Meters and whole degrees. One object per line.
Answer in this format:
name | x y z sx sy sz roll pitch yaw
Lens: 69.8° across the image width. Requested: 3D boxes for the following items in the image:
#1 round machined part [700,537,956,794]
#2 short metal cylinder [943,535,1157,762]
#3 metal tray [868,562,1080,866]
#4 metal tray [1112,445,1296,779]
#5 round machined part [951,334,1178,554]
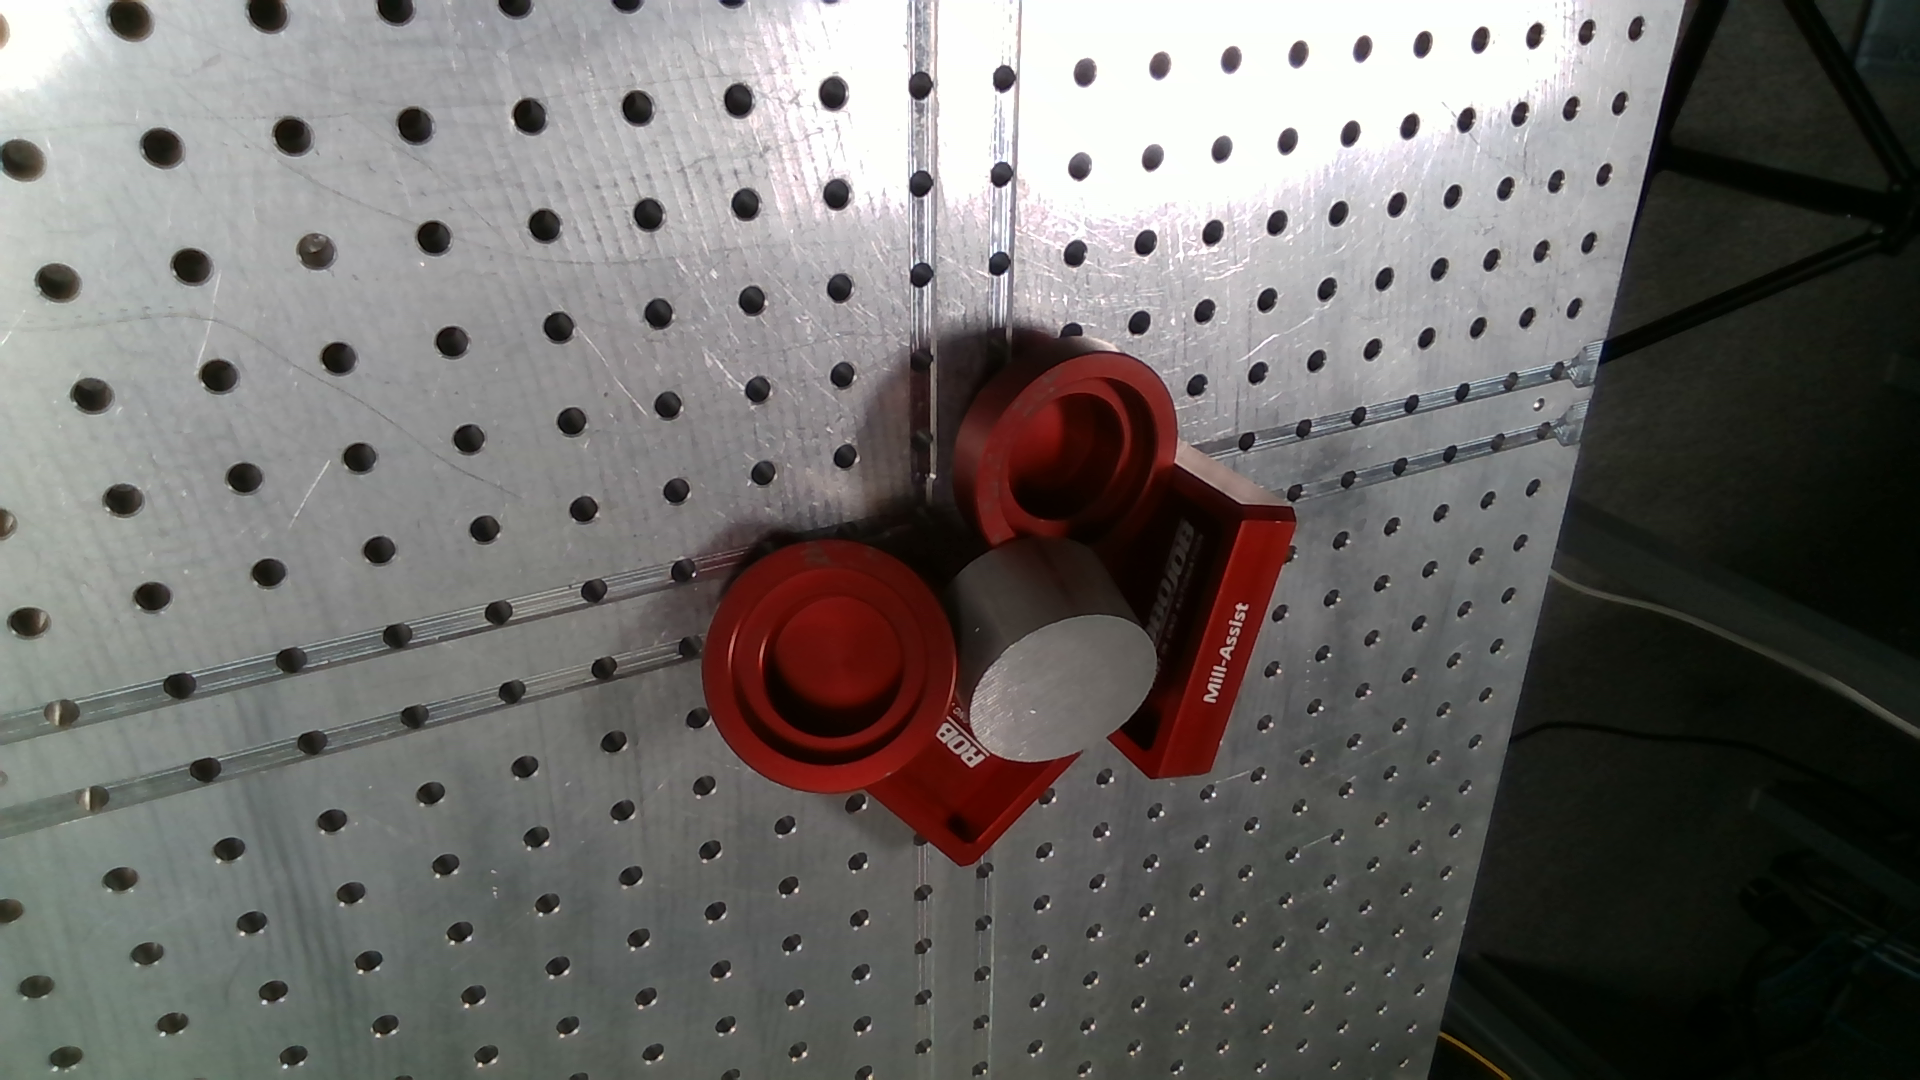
round machined part | -0.050 0.050 0.546 0.098 0.042 0.098 0 85 2
short metal cylinder | 0.033 0.045 0.564 0.080 0.050 0.080 -13 132 -14
metal tray | -0.007 0.081 0.619 0.090 0.030 0.130 -45 129 -3
metal tray | 0.090 0.028 0.612 0.030 0.090 0.130 1 114 -32
round machined part | 0.039 -0.039 0.576 0.098 0.042 0.098 -14 122 -25
